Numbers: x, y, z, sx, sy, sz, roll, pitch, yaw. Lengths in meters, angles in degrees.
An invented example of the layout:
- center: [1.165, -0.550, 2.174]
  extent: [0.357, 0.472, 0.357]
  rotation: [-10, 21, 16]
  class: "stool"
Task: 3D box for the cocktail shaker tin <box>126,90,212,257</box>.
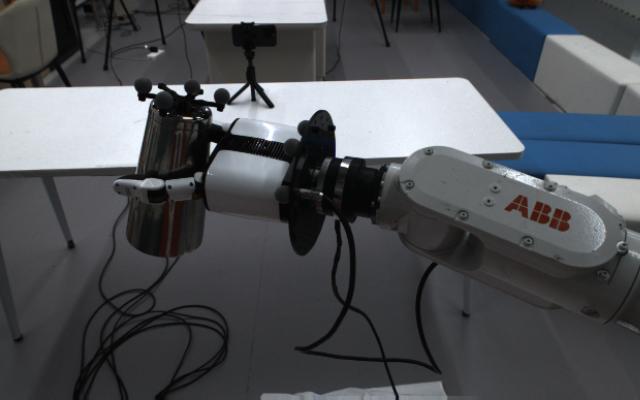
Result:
- center: [-0.168, -0.029, 0.560]
  extent: [0.093, 0.170, 0.093]
  rotation: [12, 29, -7]
  class: "cocktail shaker tin"
